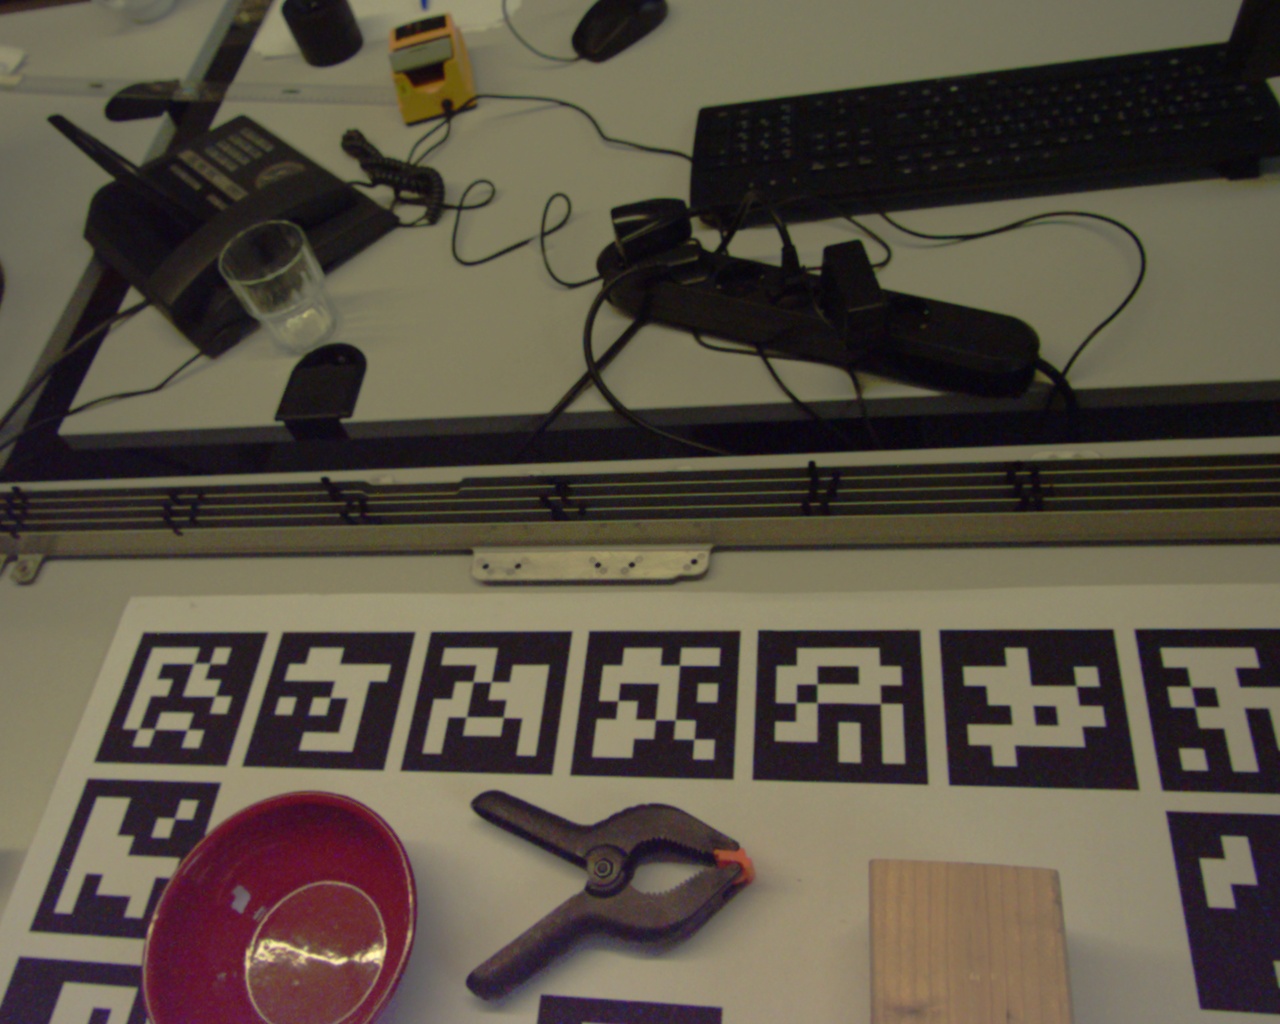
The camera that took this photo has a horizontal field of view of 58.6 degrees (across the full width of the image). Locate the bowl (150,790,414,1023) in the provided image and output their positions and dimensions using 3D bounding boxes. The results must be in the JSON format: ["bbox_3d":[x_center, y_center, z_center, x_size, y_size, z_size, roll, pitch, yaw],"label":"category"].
[{"bbox_3d":[-0.205,0.254,0.683,0.162,0.055,0.162,-6,57,9],"label":"bowl"}]

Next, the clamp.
[{"bbox_3d":[-0.041,0.222,0.678,0.165,0.036,0.122,-9,54,5],"label":"clamp"}]

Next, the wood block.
[{"bbox_3d":[0.147,0.288,0.541,0.090,0.090,0.206,1,56,13],"label":"wood block"}]
